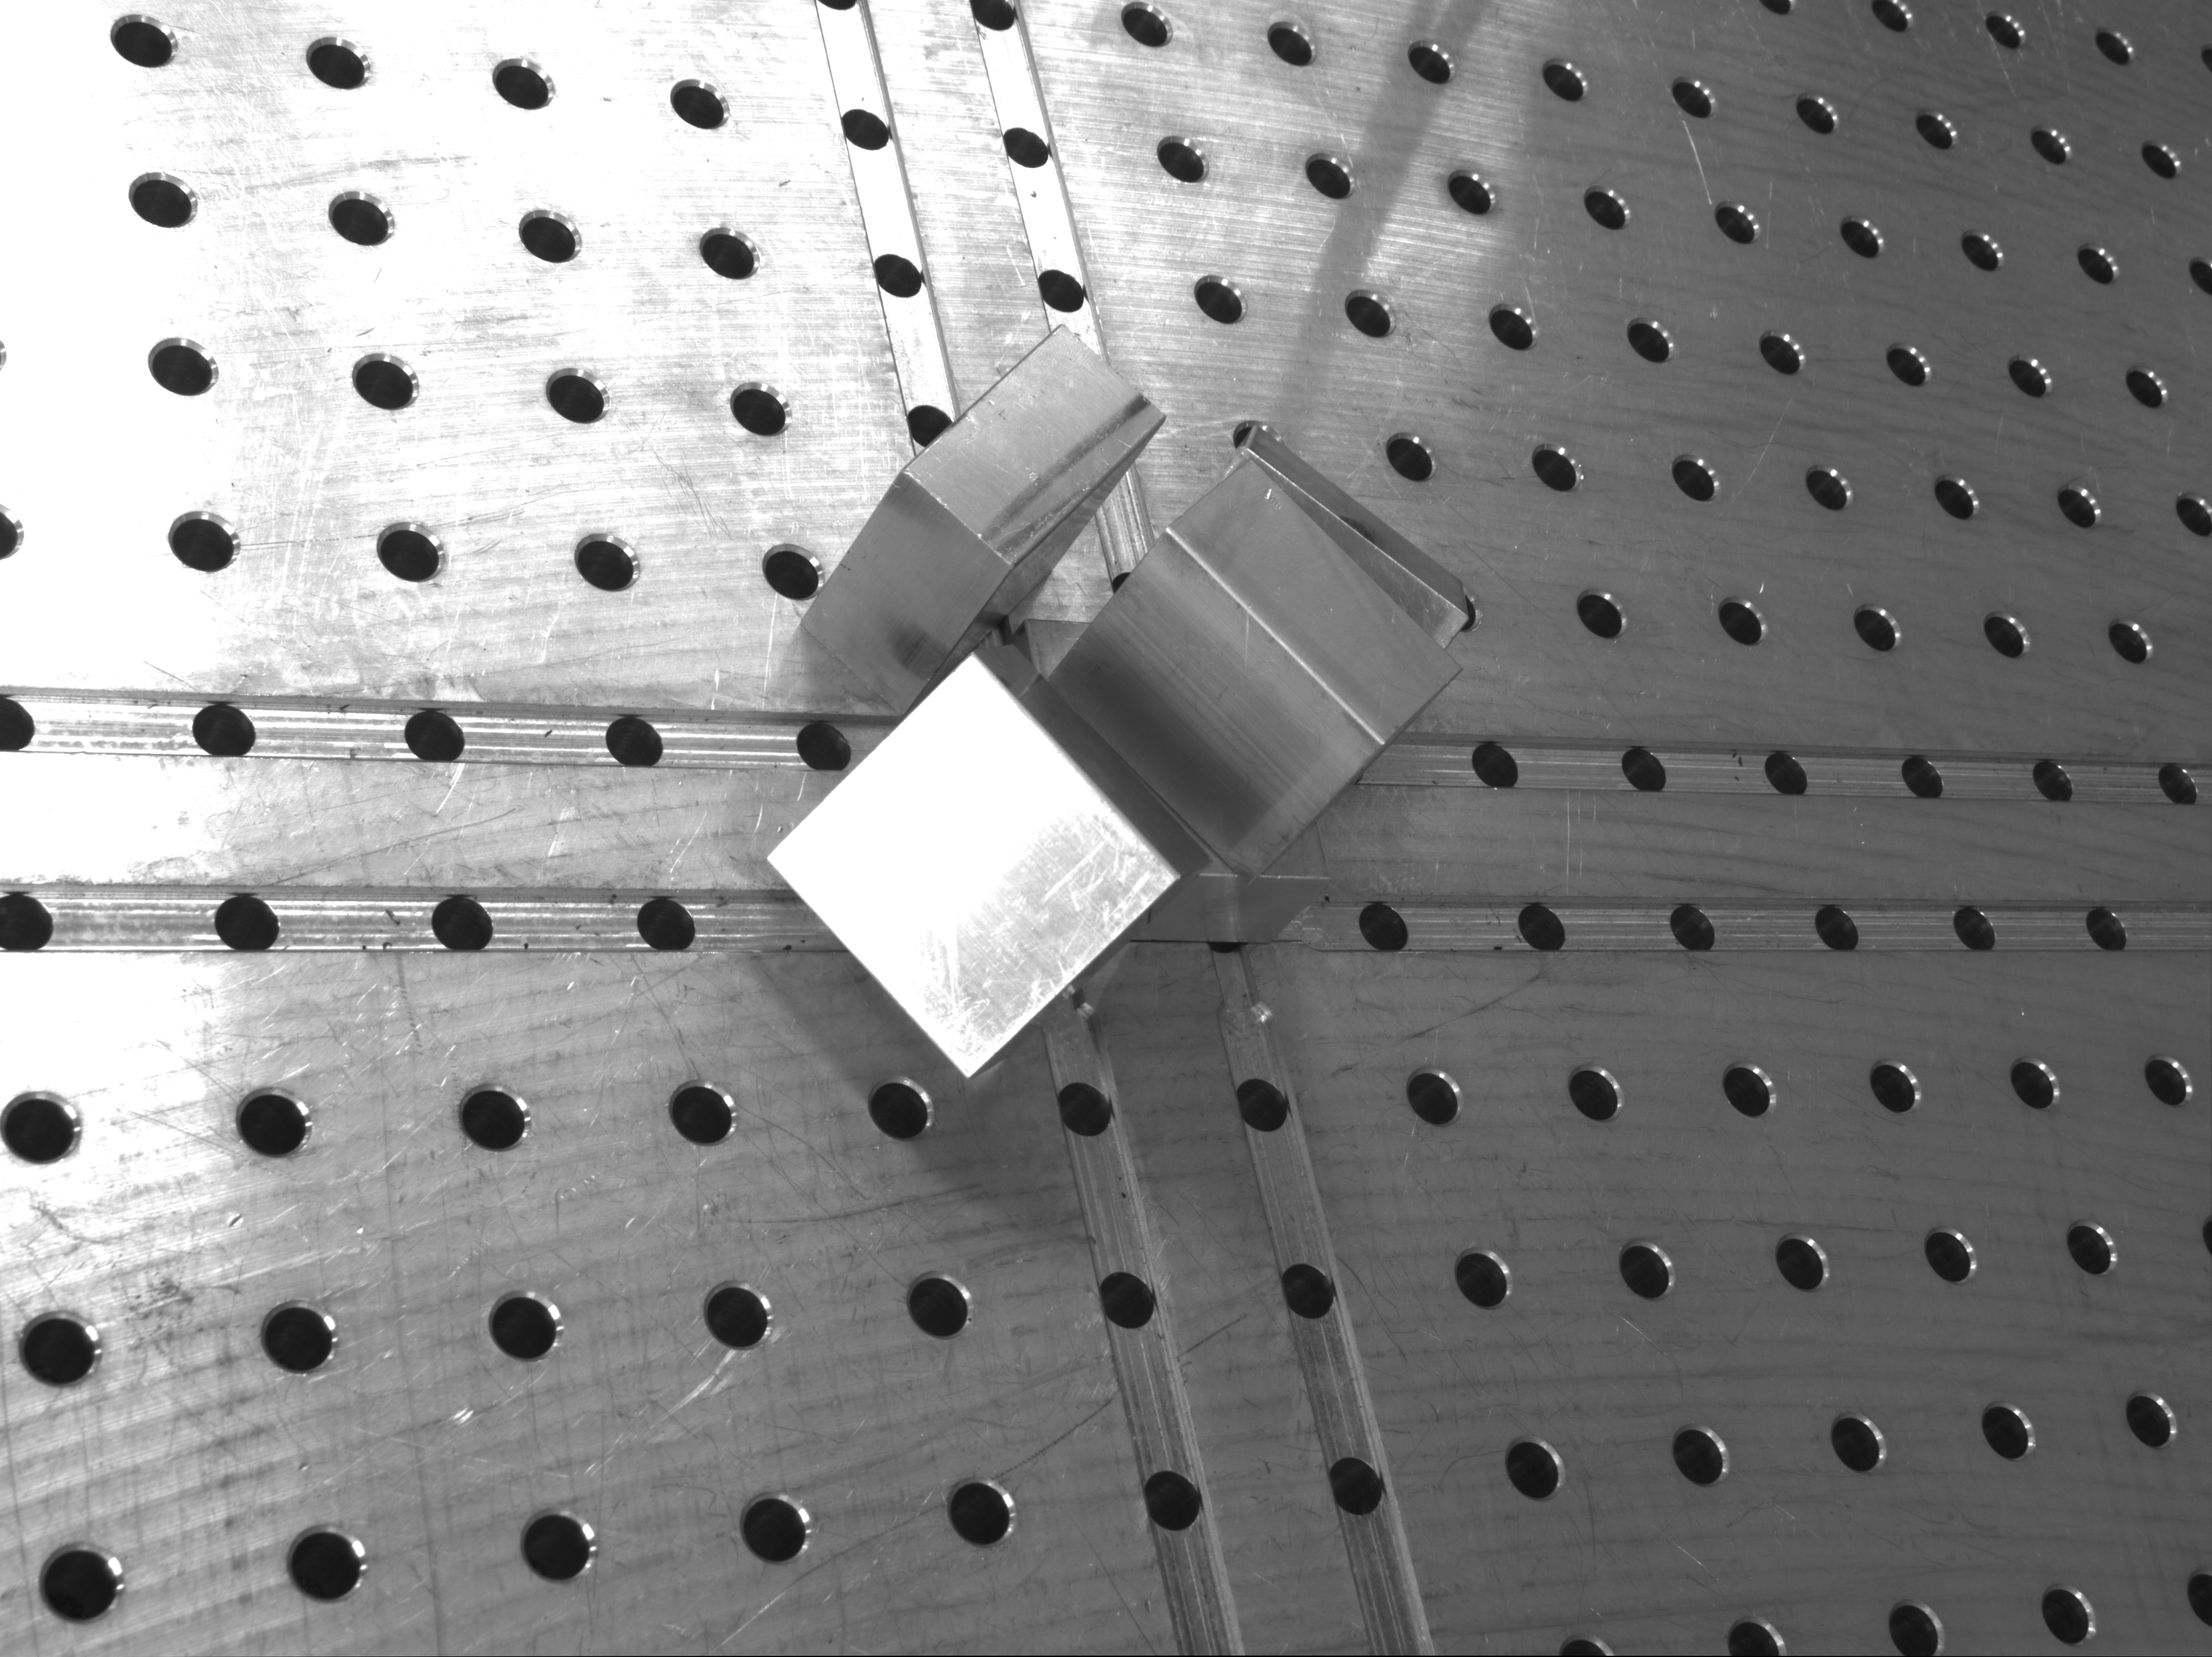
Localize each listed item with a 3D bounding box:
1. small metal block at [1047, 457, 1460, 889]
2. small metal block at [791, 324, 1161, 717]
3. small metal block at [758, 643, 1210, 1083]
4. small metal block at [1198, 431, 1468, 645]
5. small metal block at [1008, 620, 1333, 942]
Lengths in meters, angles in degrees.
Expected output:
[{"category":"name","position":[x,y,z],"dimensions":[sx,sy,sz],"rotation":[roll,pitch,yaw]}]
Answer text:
[{"category":"small metal block","position":[0.023,-0.026,0.622],"dimensions":[0.050,0.050,0.025],"rotation":[46,50,3]},{"category":"small metal block","position":[-0.023,-0.054,0.647],"dimensions":[0.025,0.050,0.050],"rotation":[42,51,1]},{"category":"small metal block","position":[-0.020,0.005,0.609],"dimensions":[0.050,0.050,0.025],"rotation":[47,14,5]},{"category":"small metal block","position":[0.038,-0.047,0.674],"dimensions":[0.050,0.025,0.050],"rotation":[37,11,-3]},{"category":"small metal block","position":[0.007,-0.008,0.651],"dimensions":[0.050,0.025,0.050],"rotation":[1,61,-29]}]
